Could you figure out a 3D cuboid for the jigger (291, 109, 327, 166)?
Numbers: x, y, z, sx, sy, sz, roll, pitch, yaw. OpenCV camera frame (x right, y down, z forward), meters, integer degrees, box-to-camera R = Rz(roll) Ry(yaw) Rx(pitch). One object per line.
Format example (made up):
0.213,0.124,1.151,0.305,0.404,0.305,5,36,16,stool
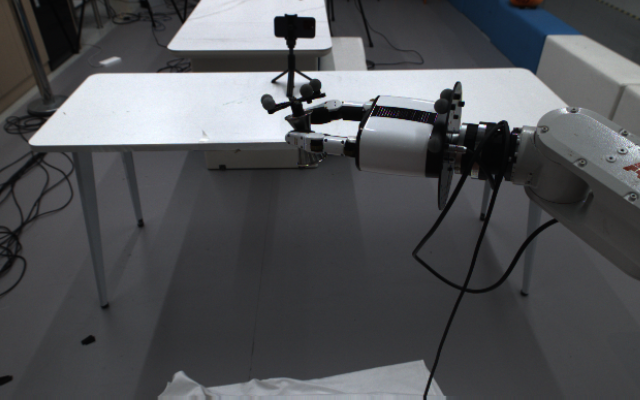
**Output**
-0.019,-0.085,0.666,0.043,0.071,0.043,-14,21,6,jigger
